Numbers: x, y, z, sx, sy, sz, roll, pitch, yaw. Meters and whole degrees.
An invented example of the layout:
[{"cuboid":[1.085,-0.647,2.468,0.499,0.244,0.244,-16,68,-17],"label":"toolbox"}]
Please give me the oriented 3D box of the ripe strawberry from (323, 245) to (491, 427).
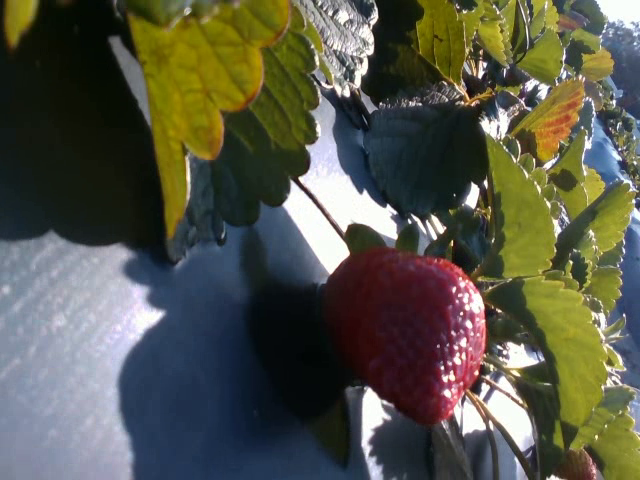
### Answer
[{"cuboid":[0.018,0.022,0.135,0.045,0.042,0.056,10,29,-2],"label":"ripe strawberry"}]
